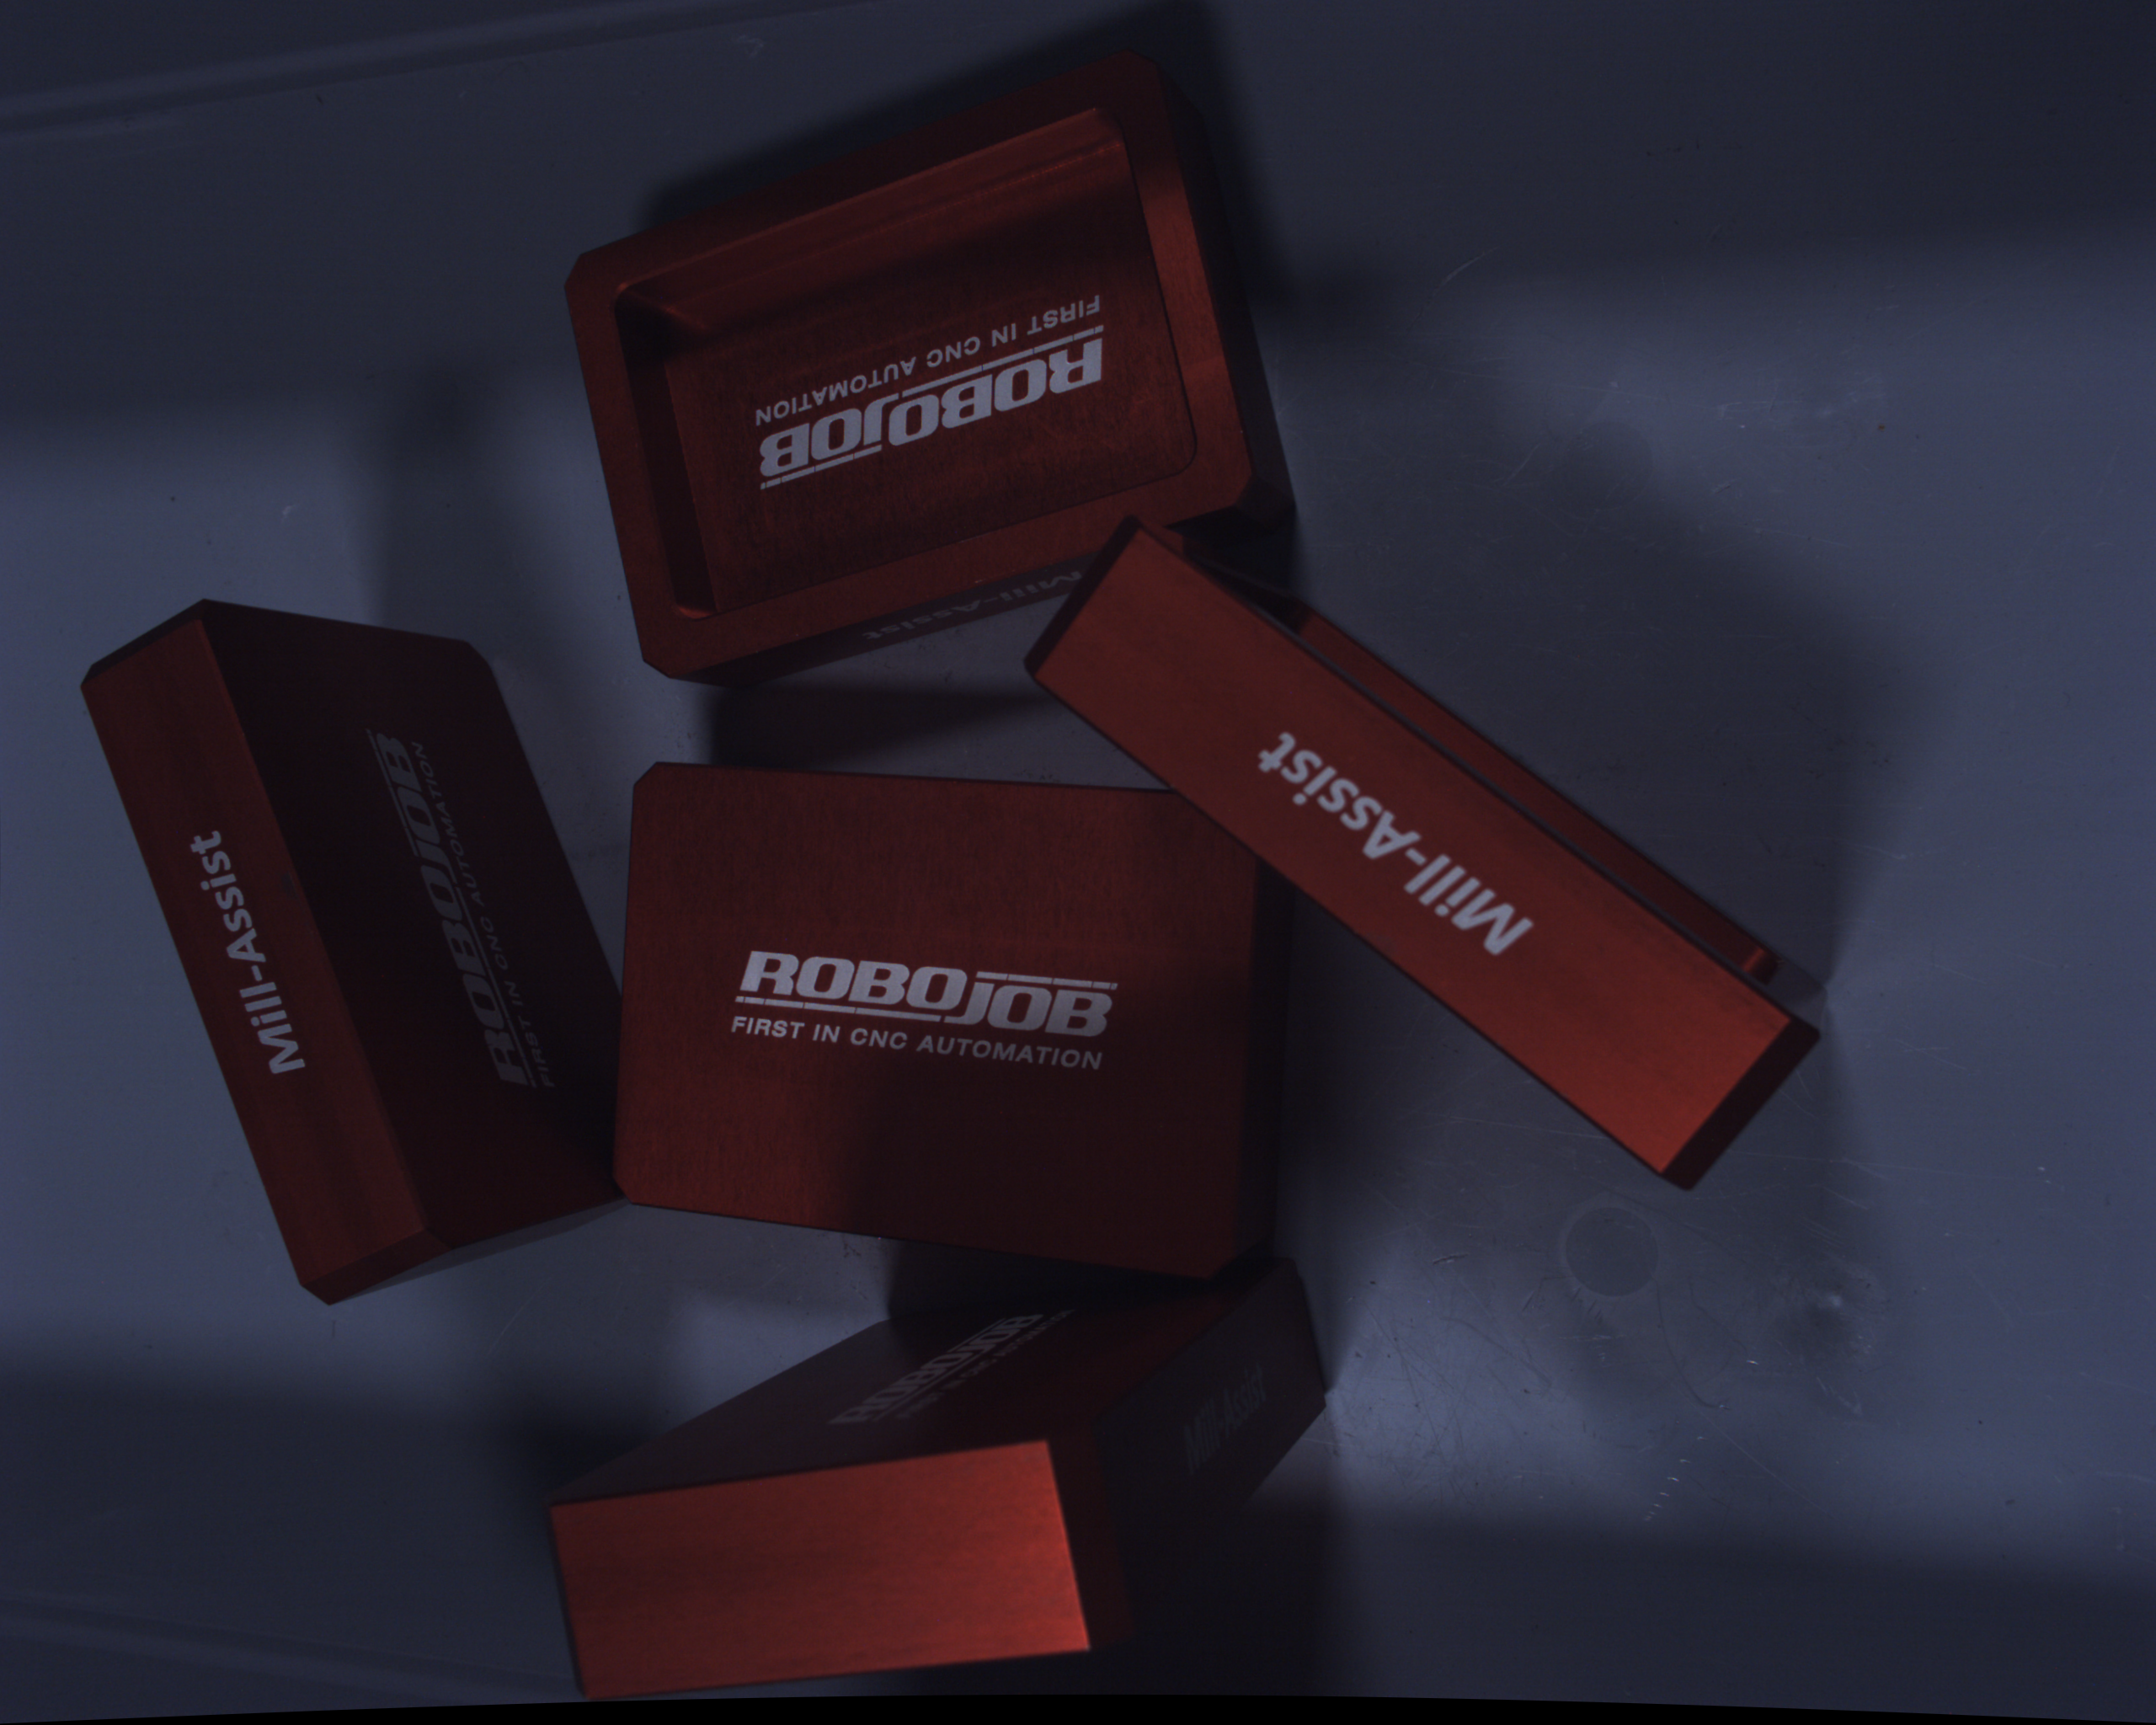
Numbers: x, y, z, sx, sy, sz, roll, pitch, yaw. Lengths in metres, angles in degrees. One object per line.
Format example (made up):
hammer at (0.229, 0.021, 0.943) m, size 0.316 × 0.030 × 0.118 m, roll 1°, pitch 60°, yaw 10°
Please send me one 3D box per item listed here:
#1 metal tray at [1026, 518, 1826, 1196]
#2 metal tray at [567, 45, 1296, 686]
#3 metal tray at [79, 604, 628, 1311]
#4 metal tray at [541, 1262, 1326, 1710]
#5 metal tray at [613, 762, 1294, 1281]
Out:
metal tray at (0.062, -0.004, 0.351) m, size 0.130 × 0.090 × 0.030 m, roll 40°, pitch 103°, yaw 15°
metal tray at (-0.031, -0.095, 0.416) m, size 0.130 × 0.030 × 0.090 m, roll -14°, pitch 85°, yaw 19°
metal tray at (-0.136, 0.017, 0.420) m, size 0.030 × 0.090 × 0.129 m, roll -26°, pitch 82°, yaw 17°
metal tray at (-0.017, 0.101, 0.357) m, size 0.090 × 0.130 × 0.030 m, roll -13°, pitch 86°, yaw 19°
metal tray at (-0.026, 0.028, 0.413) m, size 0.130 × 0.030 × 0.089 m, roll 4°, pitch 91°, yaw 19°
